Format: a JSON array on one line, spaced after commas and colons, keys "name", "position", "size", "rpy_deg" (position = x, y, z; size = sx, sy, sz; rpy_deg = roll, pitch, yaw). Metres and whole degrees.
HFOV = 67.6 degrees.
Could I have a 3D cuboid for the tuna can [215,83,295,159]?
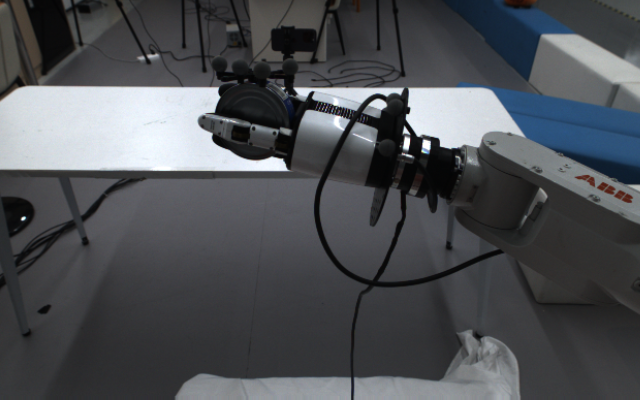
[{"name": "tuna can", "position": [-0.070, -0.091, 0.544], "size": [0.085, 0.085, 0.034], "rpy_deg": [9, 23, 9]}]
